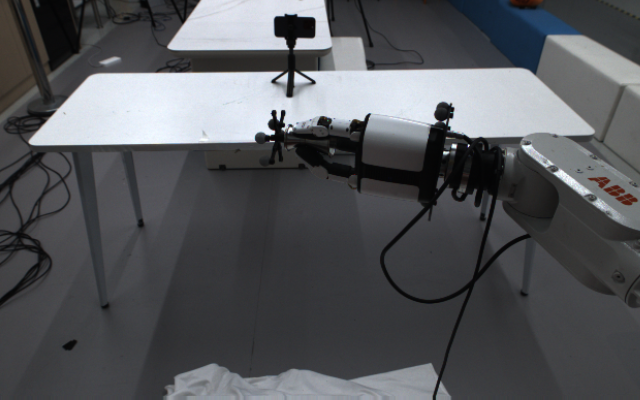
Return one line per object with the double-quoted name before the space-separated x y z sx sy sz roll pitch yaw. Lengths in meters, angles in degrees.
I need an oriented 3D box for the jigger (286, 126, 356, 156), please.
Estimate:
"jigger" -0.007 -0.091 0.697 0.071 0.043 0.043 8 35 14
